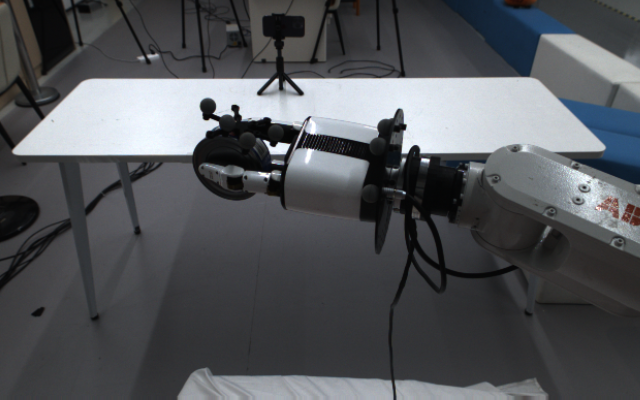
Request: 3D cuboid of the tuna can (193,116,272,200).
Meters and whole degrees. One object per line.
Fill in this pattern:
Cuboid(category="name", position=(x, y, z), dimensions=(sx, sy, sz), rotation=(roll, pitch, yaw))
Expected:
Cuboid(category="tuna can", position=(-0.100, -0.044, 0.563), dimensions=(0.085, 0.085, 0.034), rotation=(9, 35, 10))
